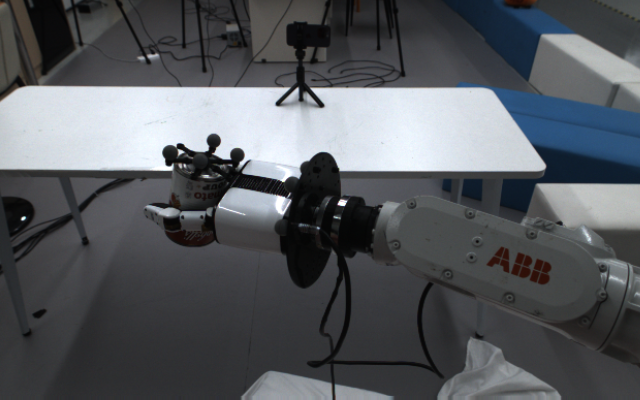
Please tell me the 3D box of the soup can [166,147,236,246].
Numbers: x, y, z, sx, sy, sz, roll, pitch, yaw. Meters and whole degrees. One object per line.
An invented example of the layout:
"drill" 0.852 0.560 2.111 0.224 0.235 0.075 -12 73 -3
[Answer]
"soup can" -0.154 0.000 0.605 0.067 0.101 0.067 13 31 -8
